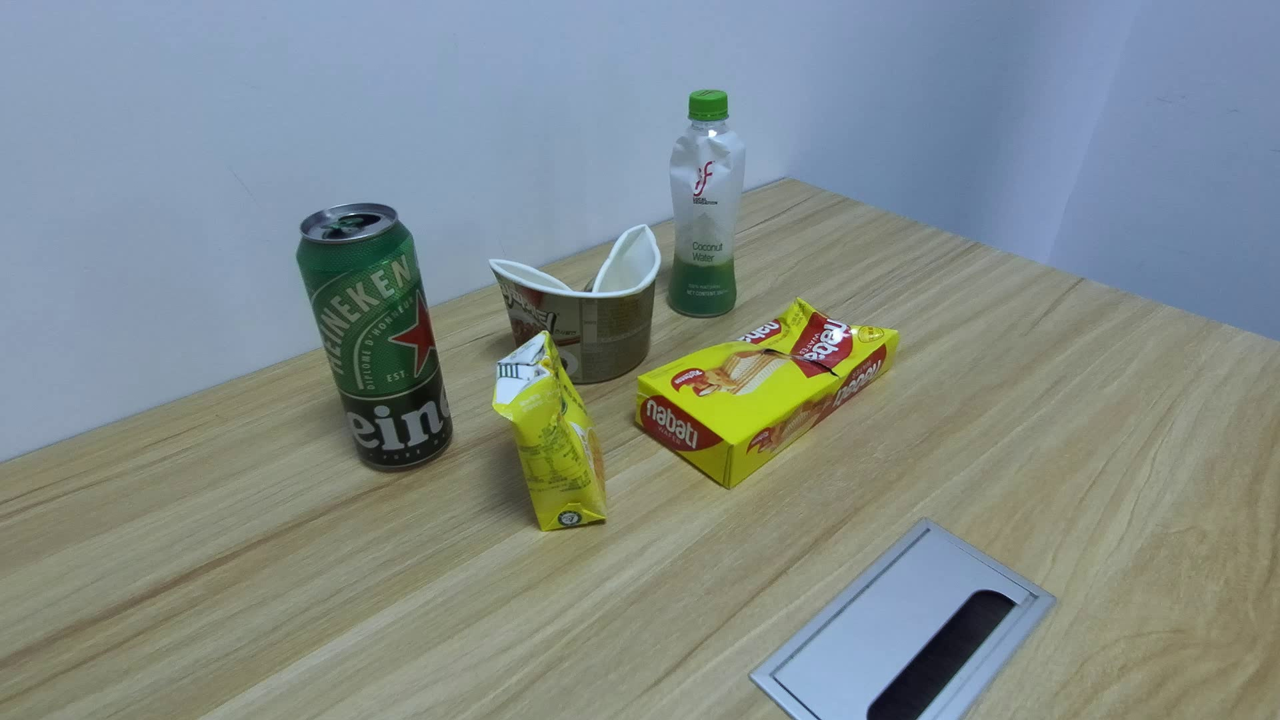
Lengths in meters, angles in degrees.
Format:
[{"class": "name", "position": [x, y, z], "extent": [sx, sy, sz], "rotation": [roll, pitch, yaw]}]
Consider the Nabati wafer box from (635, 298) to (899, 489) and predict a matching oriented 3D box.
[{"class": "Nabati wafer box", "position": [0.099, 0.010, 0.533], "extent": [0.205, 0.042, 0.106], "rotation": [-27, 43, -35]}]

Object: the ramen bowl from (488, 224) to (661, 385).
[{"class": "ramen bowl", "position": [-0.047, -0.044, 0.564], "extent": [0.137, 0.098, 0.137], "rotation": [-2, 35, 2]}]

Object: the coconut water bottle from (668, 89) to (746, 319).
[{"class": "coconut water bottle", "position": [0.054, -0.129, 0.599], "extent": [0.069, 0.186, 0.069], "rotation": [-2, 34, 2]}]

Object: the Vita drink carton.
[{"class": "Vita drink carton", "position": [-0.055, 0.044, 0.429], "extent": [0.042, 0.108, 0.087], "rotation": [-15, 30, 4]}]

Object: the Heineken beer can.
[{"class": "Heineken beer can", "position": [-0.166, -0.010, 0.454], "extent": [0.067, 0.169, 0.067], "rotation": [-1, 34, 1]}]
